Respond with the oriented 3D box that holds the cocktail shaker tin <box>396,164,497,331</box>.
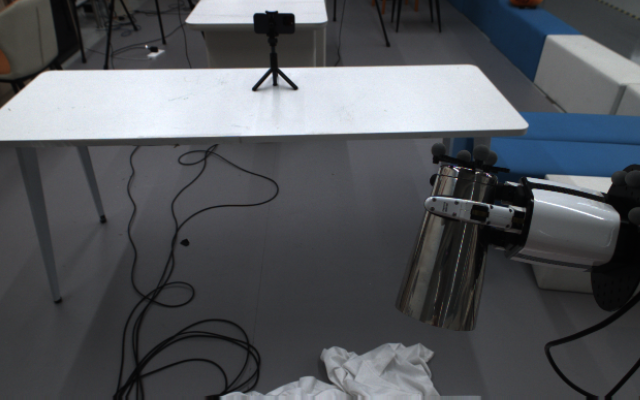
[{"bbox_3d":[0.152,0.048,0.556,0.093,0.170,0.093,12,3,-1],"label":"cocktail shaker tin"}]
